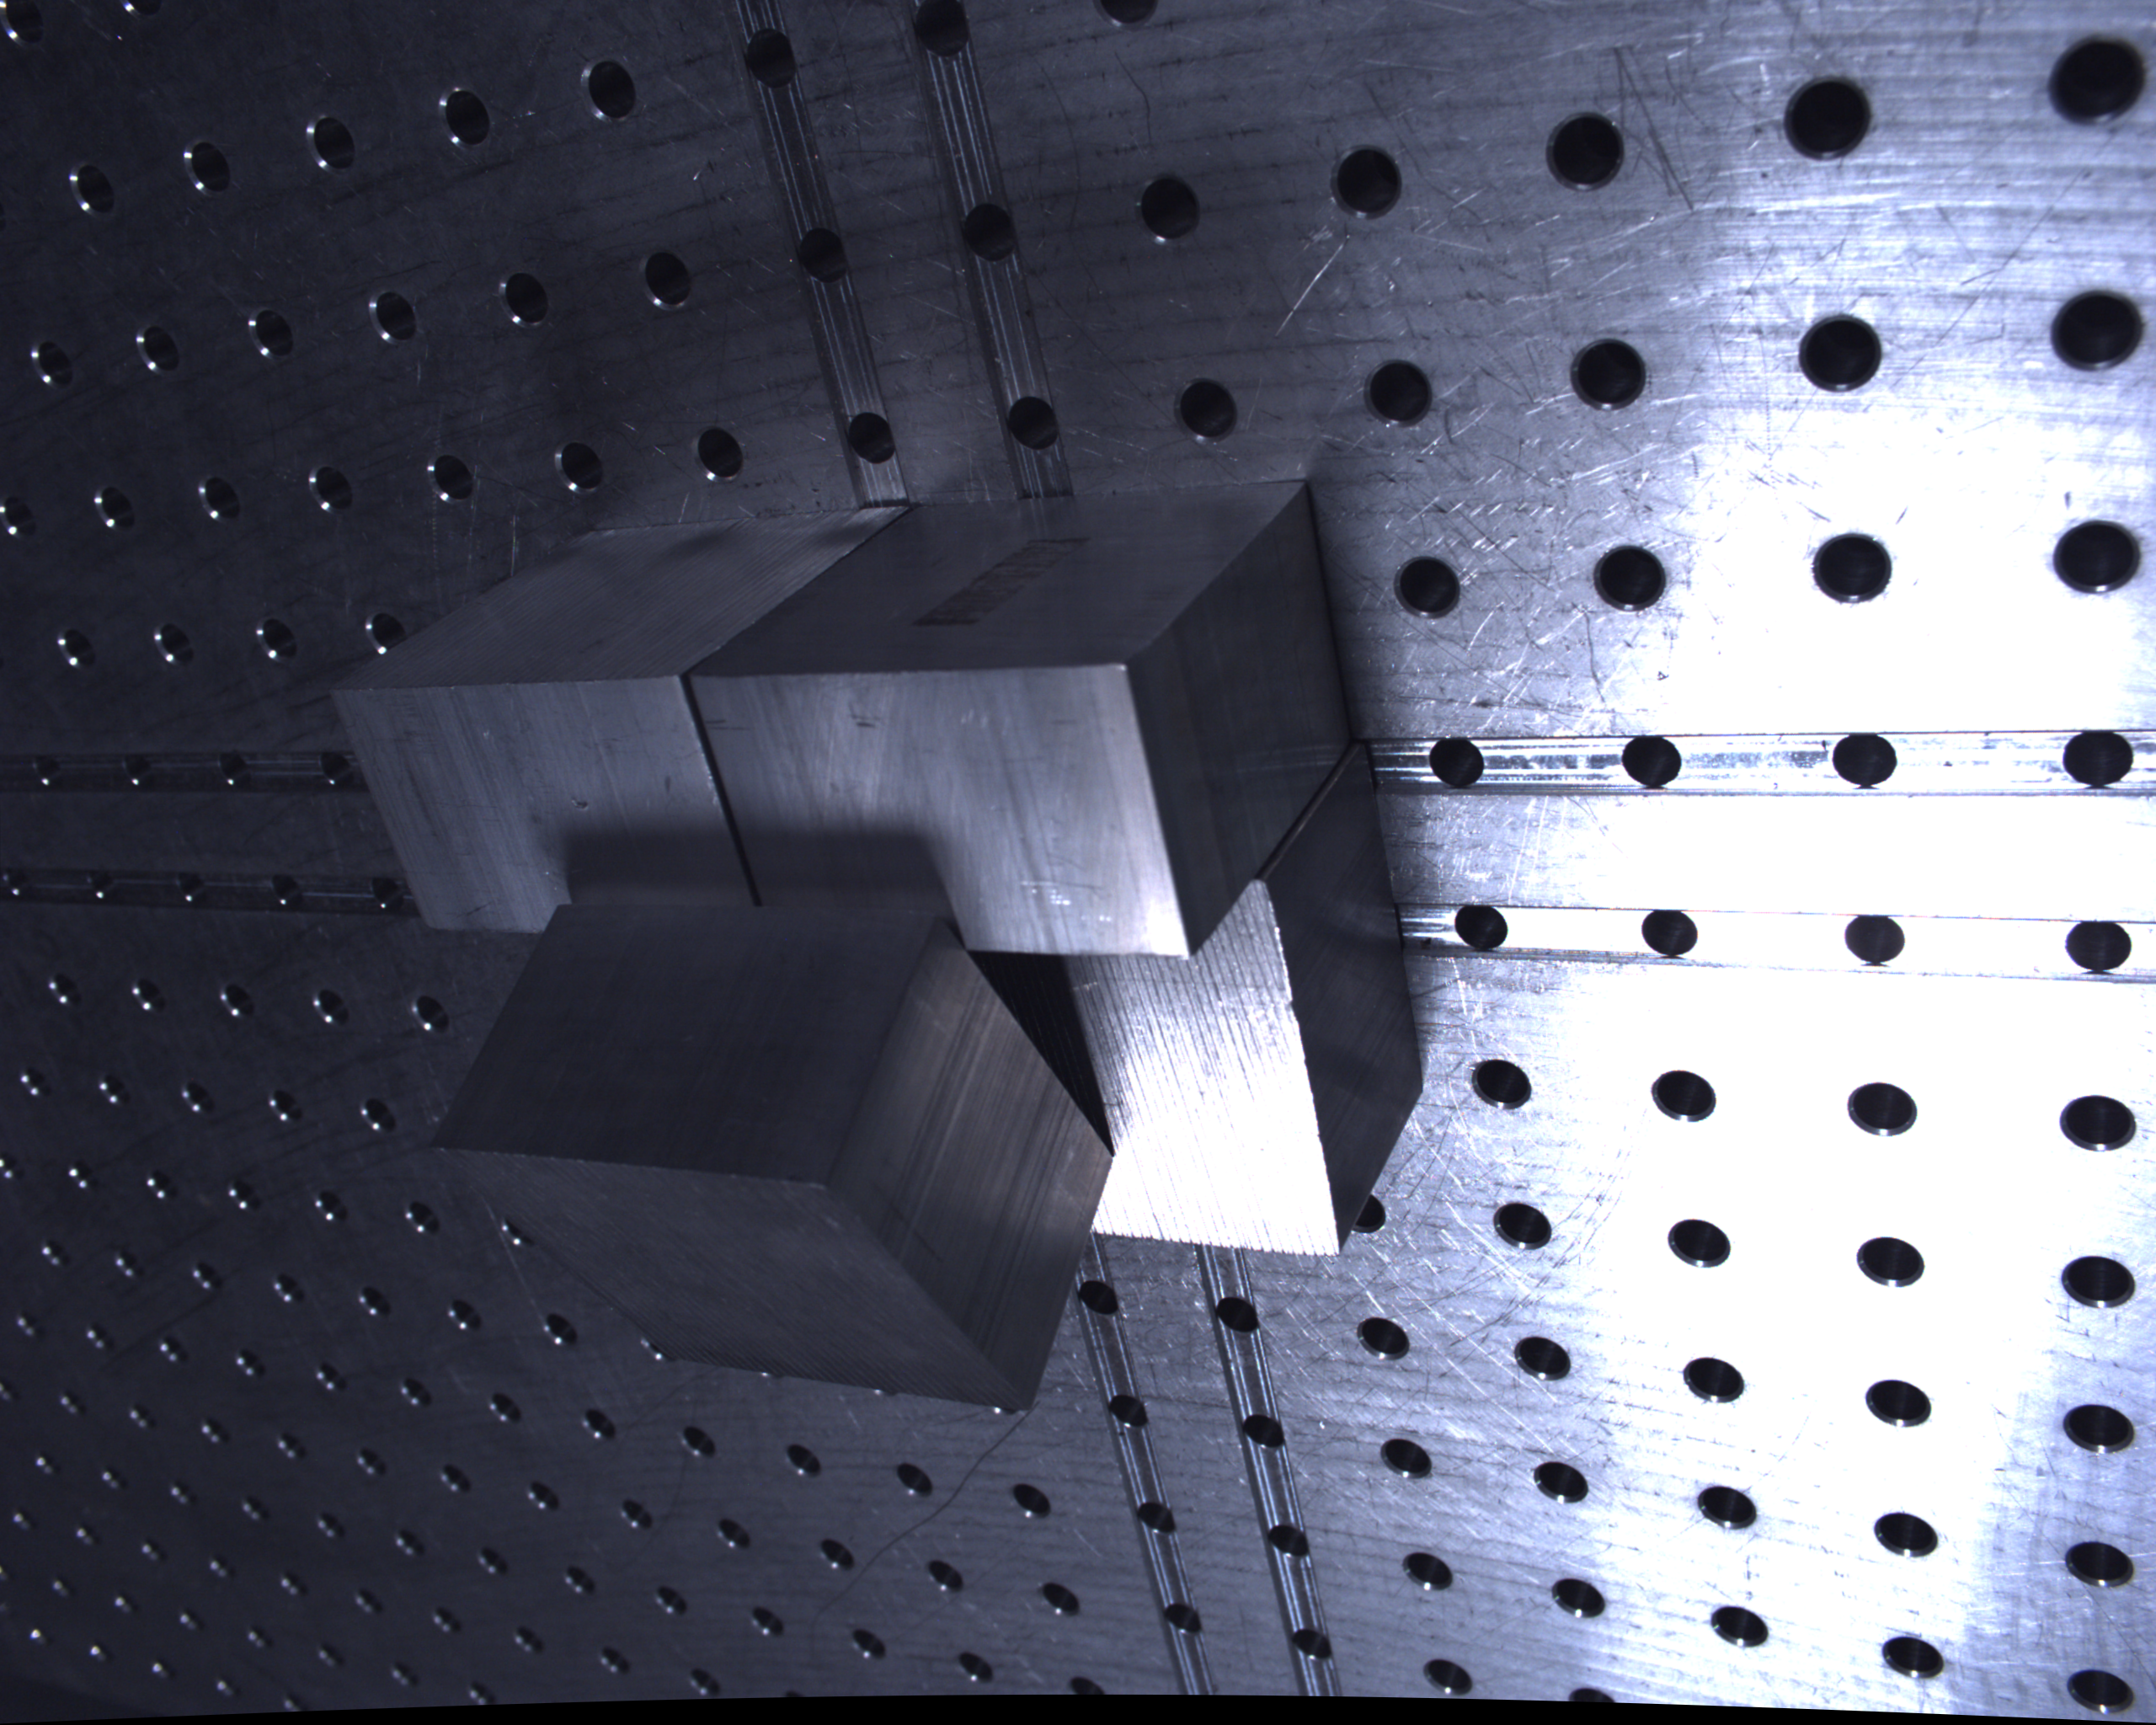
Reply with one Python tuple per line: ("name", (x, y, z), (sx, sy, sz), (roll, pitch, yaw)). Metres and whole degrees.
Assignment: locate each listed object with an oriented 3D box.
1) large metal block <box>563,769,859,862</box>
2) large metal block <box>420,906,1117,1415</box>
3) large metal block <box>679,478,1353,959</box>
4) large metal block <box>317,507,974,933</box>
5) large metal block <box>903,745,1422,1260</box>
("large metal block", (-0.058, 0.023, 0.435), (0.080, 0.050, 0.079), (1, 119, 27))
("large metal block", (-0.050, 0.052, 0.366), (0.080, 0.050, 0.080), (0, 142, 28))
("large metal block", (-0.007, -0.027, 0.360), (0.080, 0.080, 0.050), (1, 119, 27))
("large metal block", (-0.079, -0.028, 0.397), (0.080, 0.080, 0.050), (1, 119, 27))
("large metal block", (0.014, 0.025, 0.398), (0.080, 0.050, 0.079), (1, 119, 27))
